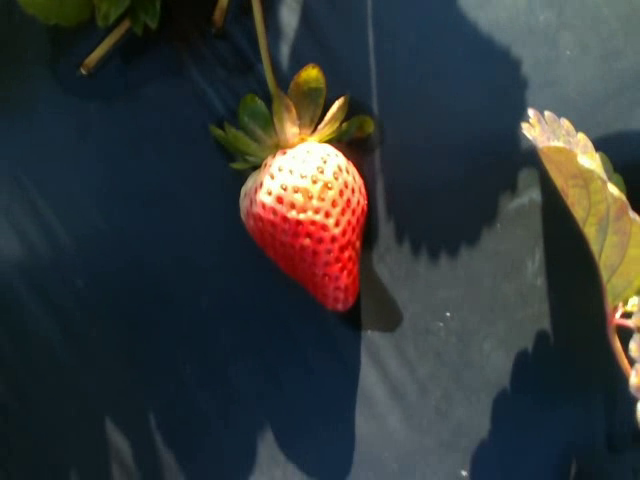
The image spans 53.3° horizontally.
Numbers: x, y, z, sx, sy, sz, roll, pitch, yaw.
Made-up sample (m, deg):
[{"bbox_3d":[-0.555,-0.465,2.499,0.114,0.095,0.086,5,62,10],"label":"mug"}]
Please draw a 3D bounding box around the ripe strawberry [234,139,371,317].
[{"bbox_3d":[-0.001,-0.002,0.178,0.043,0.064,0.044,-22,-4,-34],"label":"ripe strawberry"}]
